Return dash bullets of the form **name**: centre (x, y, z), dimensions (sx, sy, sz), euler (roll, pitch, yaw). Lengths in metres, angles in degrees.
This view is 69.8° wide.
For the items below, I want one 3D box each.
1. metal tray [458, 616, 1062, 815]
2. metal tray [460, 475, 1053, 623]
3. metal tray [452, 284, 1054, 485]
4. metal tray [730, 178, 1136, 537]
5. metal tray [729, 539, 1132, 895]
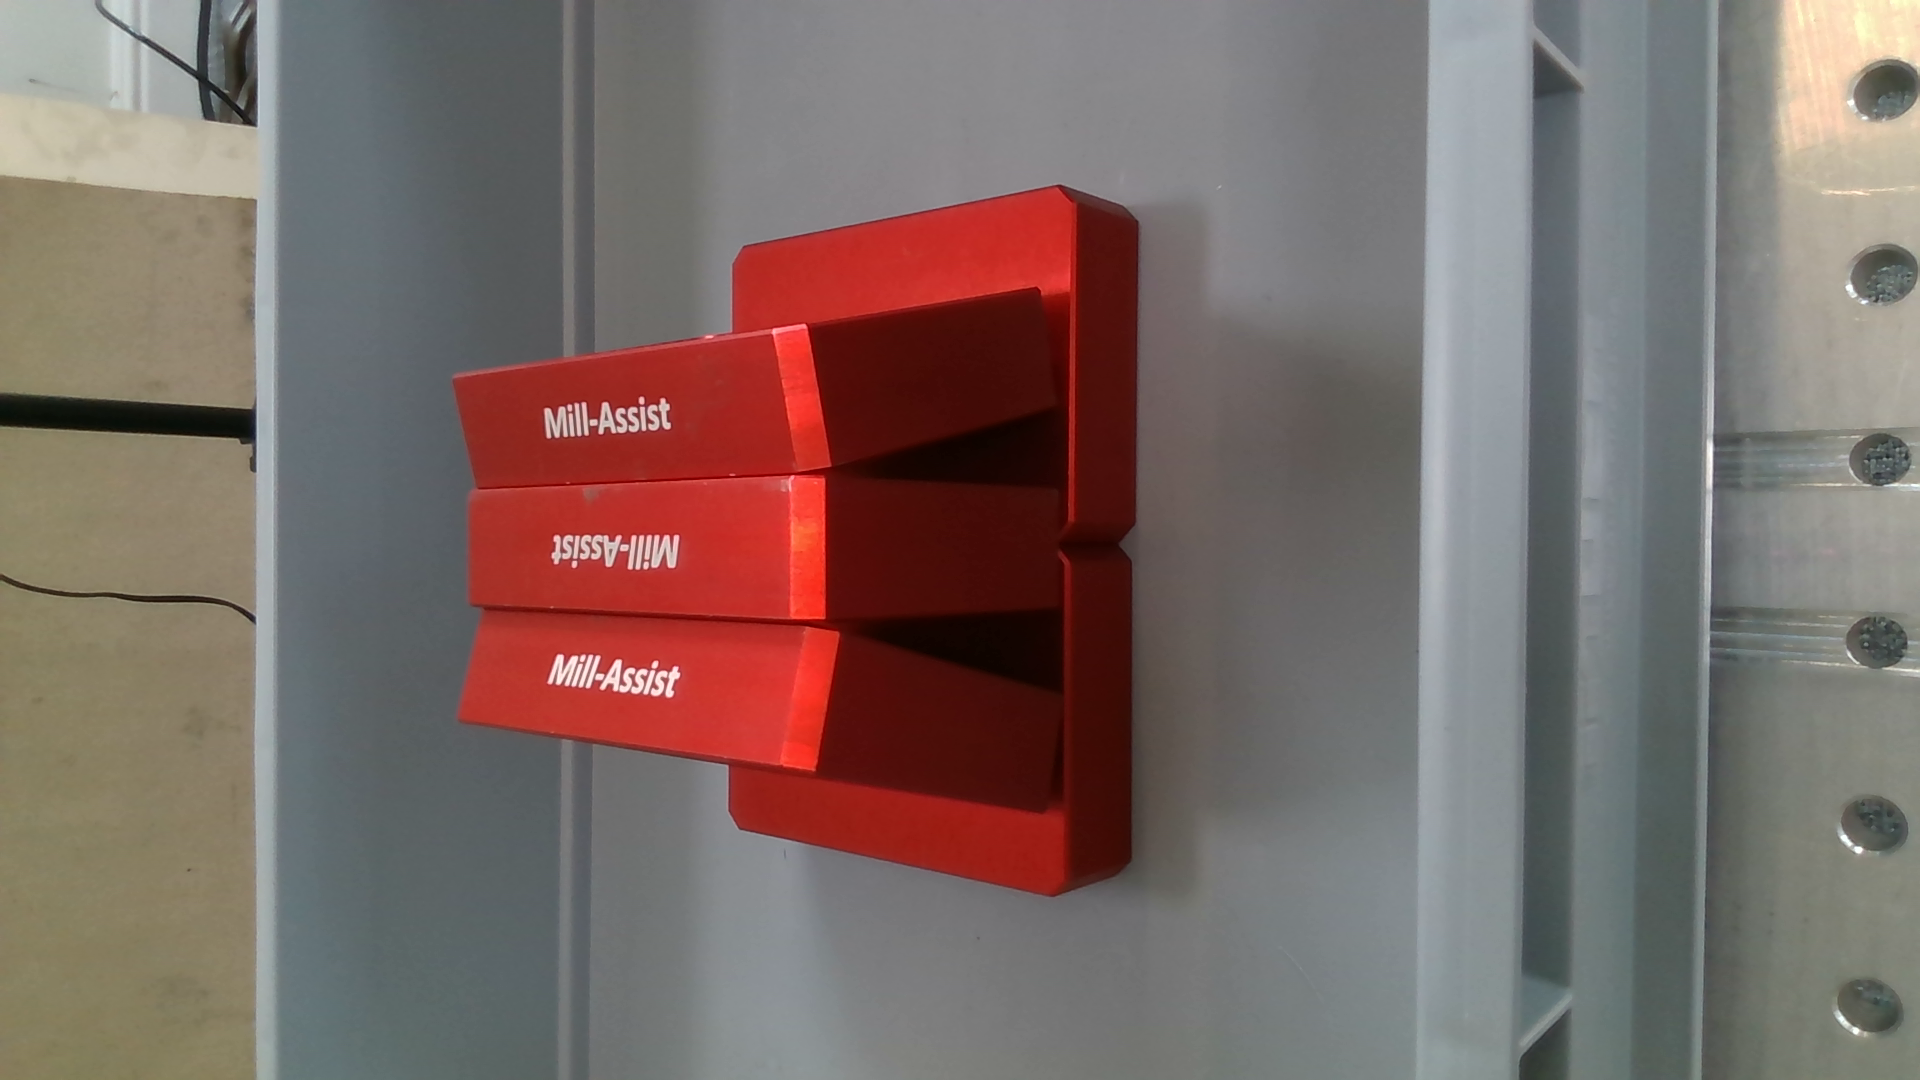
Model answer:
- **metal tray**: centre (-0.052, 0.042, 0.348), dimensions (0.130, 0.090, 0.030), euler (0, 76, 40)
- **metal tray**: centre (-0.053, 0.002, 0.350), dimensions (0.130, 0.090, 0.030), euler (0, 90, 38)
- **metal tray**: centre (-0.054, -0.039, 0.349), dimensions (0.130, 0.090, 0.030), euler (0, 103, 40)
- **metal tray**: centre (-0.012, -0.046, 0.395), dimensions (0.130, 0.030, 0.090), euler (1, 91, 40)
- **metal tray**: centre (-0.013, 0.045, 0.398), dimensions (0.130, 0.030, 0.090), euler (1, 91, 40)
